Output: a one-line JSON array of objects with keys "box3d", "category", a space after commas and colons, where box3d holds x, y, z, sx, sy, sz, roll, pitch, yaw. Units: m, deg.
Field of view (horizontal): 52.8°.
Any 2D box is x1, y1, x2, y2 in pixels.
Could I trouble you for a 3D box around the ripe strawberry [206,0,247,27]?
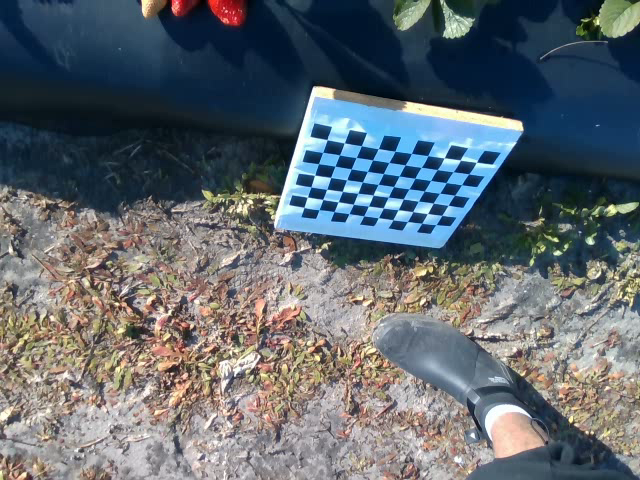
[{"box3d": [-0.101, -0.269, 0.726, 0.056, 0.067, 0.051, -25, -6, 28], "category": "ripe strawberry"}]
